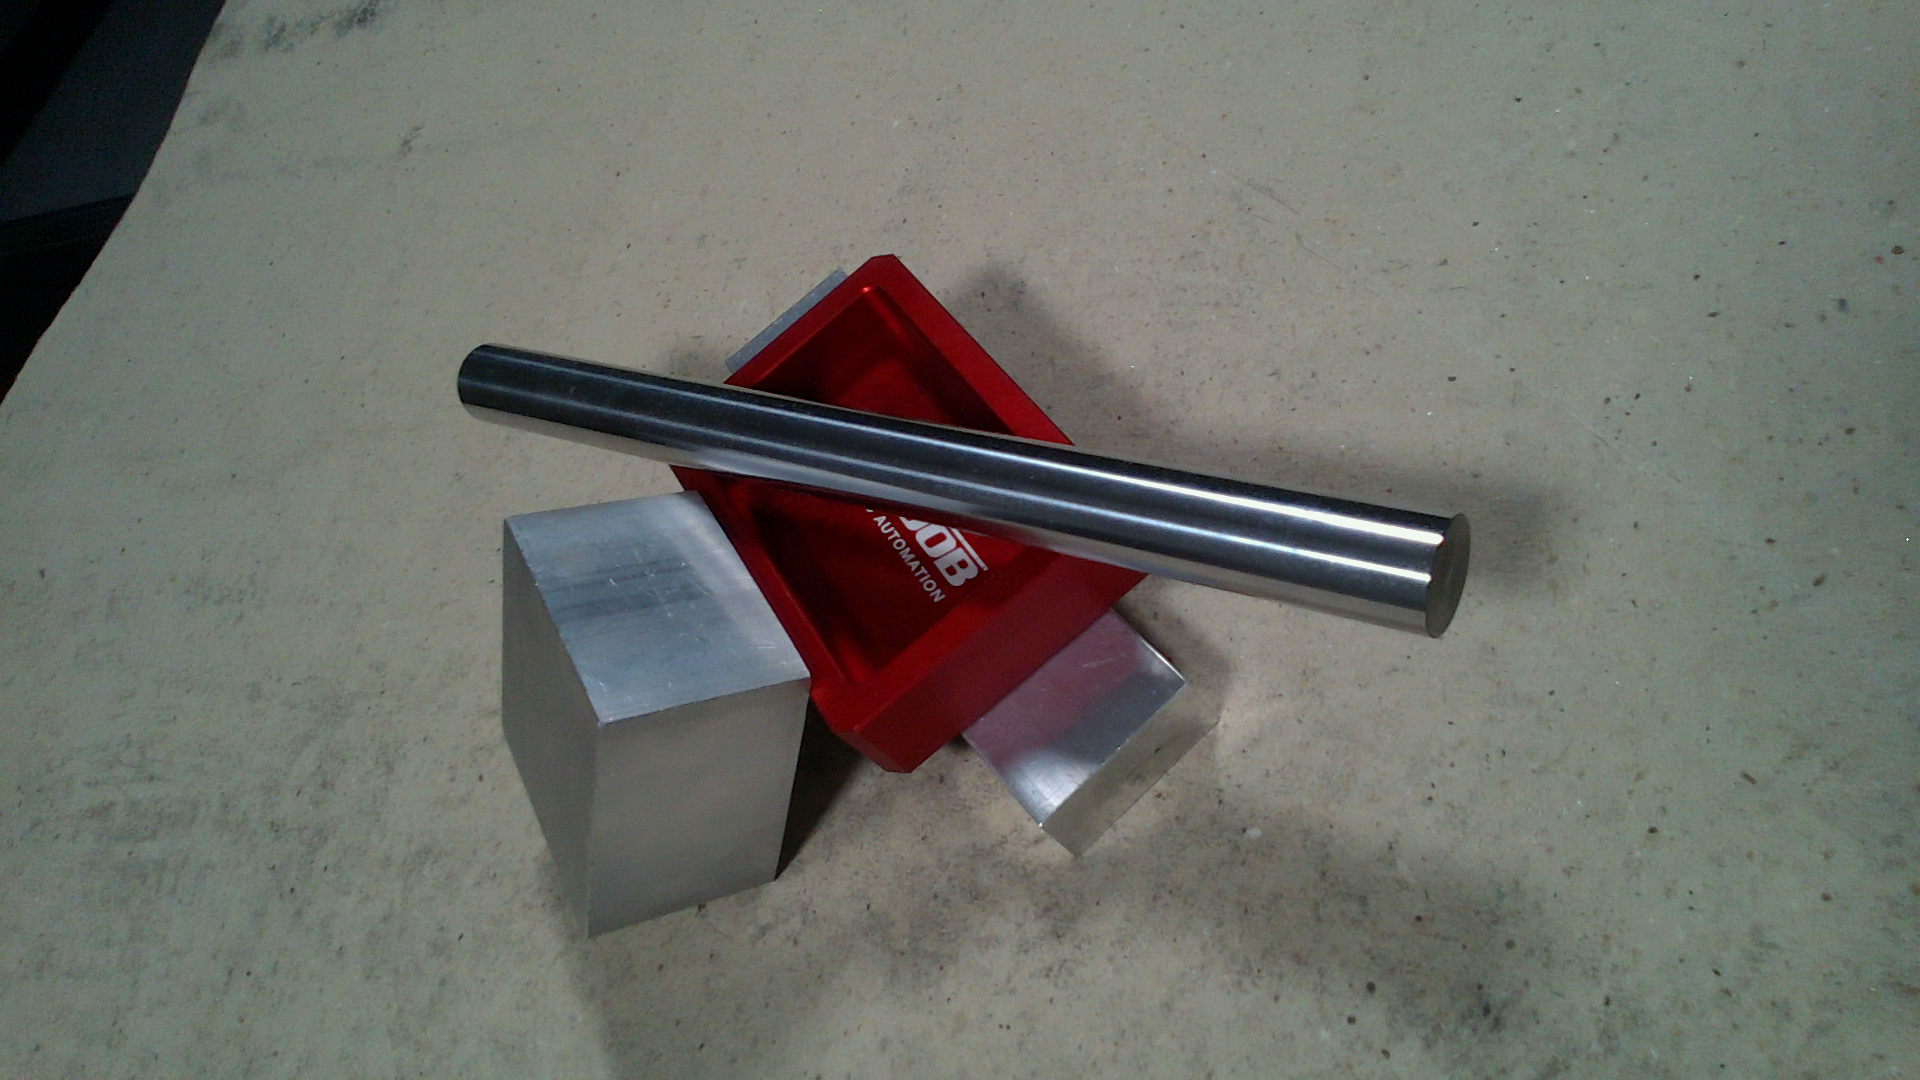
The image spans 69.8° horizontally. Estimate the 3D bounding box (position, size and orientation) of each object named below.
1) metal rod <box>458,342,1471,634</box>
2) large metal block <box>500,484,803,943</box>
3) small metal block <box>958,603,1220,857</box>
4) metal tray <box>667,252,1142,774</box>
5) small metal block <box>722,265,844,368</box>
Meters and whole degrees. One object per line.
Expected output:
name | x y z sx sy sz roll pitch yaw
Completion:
metal rod | -0.026 -0.022 0.350 0.299 0.025 0.025 13 68 34
large metal block | -0.086 0.044 0.367 0.050 0.080 0.080 -11 43 -30
small metal block | 0.028 0.043 0.352 0.050 0.025 0.050 -44 51 -2
metal tray | -0.020 -0.013 0.376 0.090 0.030 0.130 -40 51 2
small metal block | -0.043 -0.054 0.450 0.050 0.025 0.050 -39 51 2
